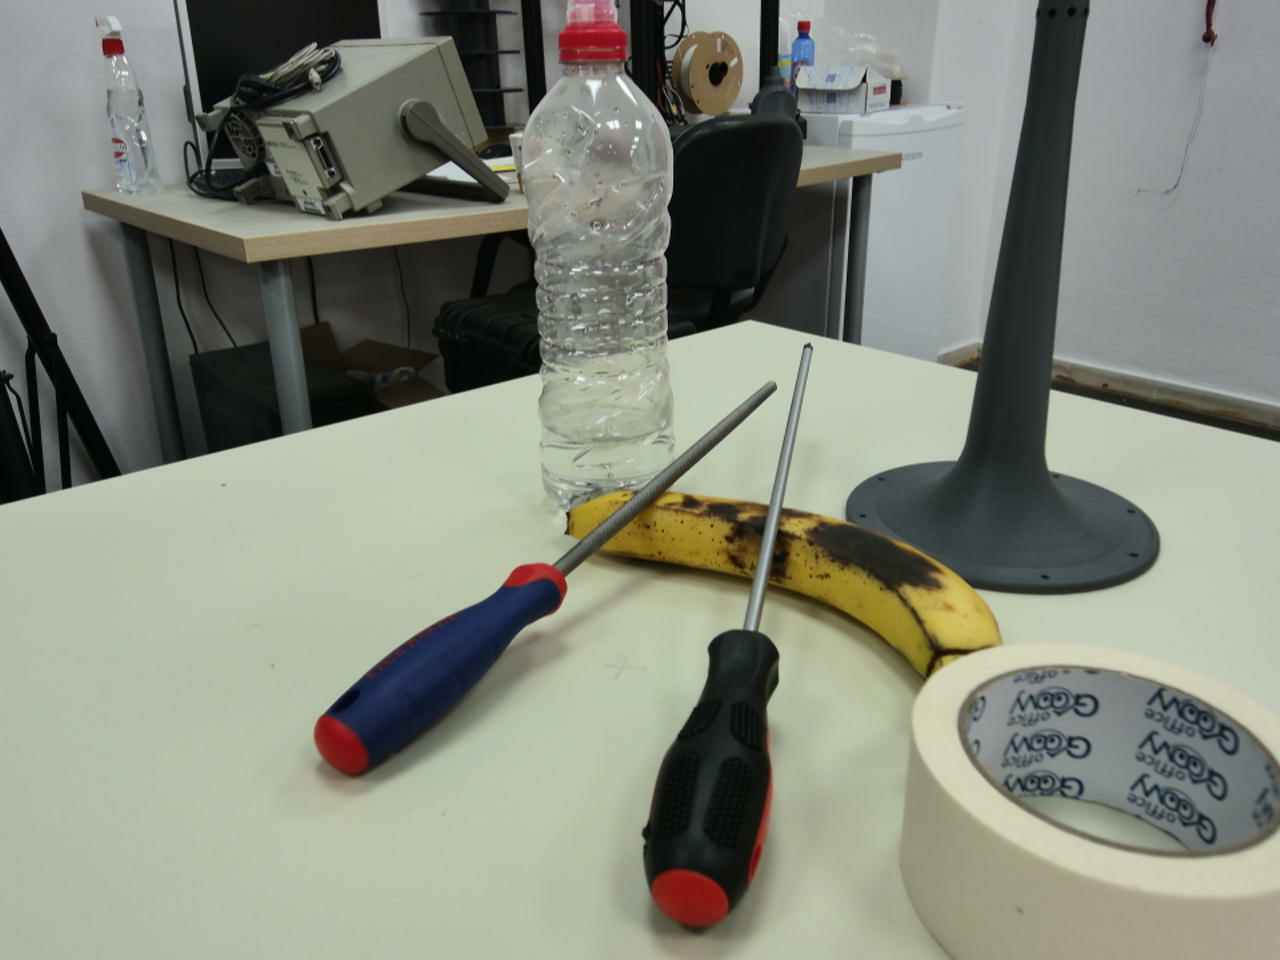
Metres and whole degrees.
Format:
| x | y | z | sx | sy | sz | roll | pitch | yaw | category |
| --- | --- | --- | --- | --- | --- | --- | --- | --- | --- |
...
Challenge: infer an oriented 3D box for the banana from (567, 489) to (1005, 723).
| x | y | z | sx | sy | sz | roll | pitch | yaw | category |
| --- | --- | --- | --- | --- | --- | --- | --- | --- | --- |
| 0.064 | 0.039 | 0.431 | 0.084 | 0.037 | 0.222 | -17 | 27 | -35 | banana |
